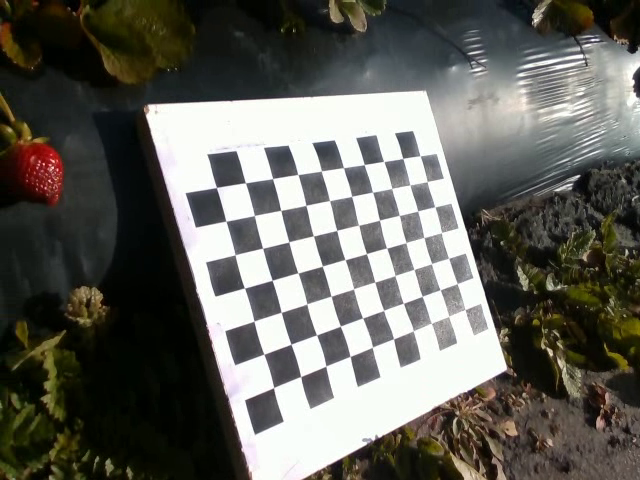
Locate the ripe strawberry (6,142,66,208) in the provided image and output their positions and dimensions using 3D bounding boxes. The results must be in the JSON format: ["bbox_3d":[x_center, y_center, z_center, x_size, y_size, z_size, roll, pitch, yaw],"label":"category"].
[{"bbox_3d":[-0.157,-0.034,0.387,0.040,0.044,0.036,-38,-1,-37],"label":"ripe strawberry"}]
